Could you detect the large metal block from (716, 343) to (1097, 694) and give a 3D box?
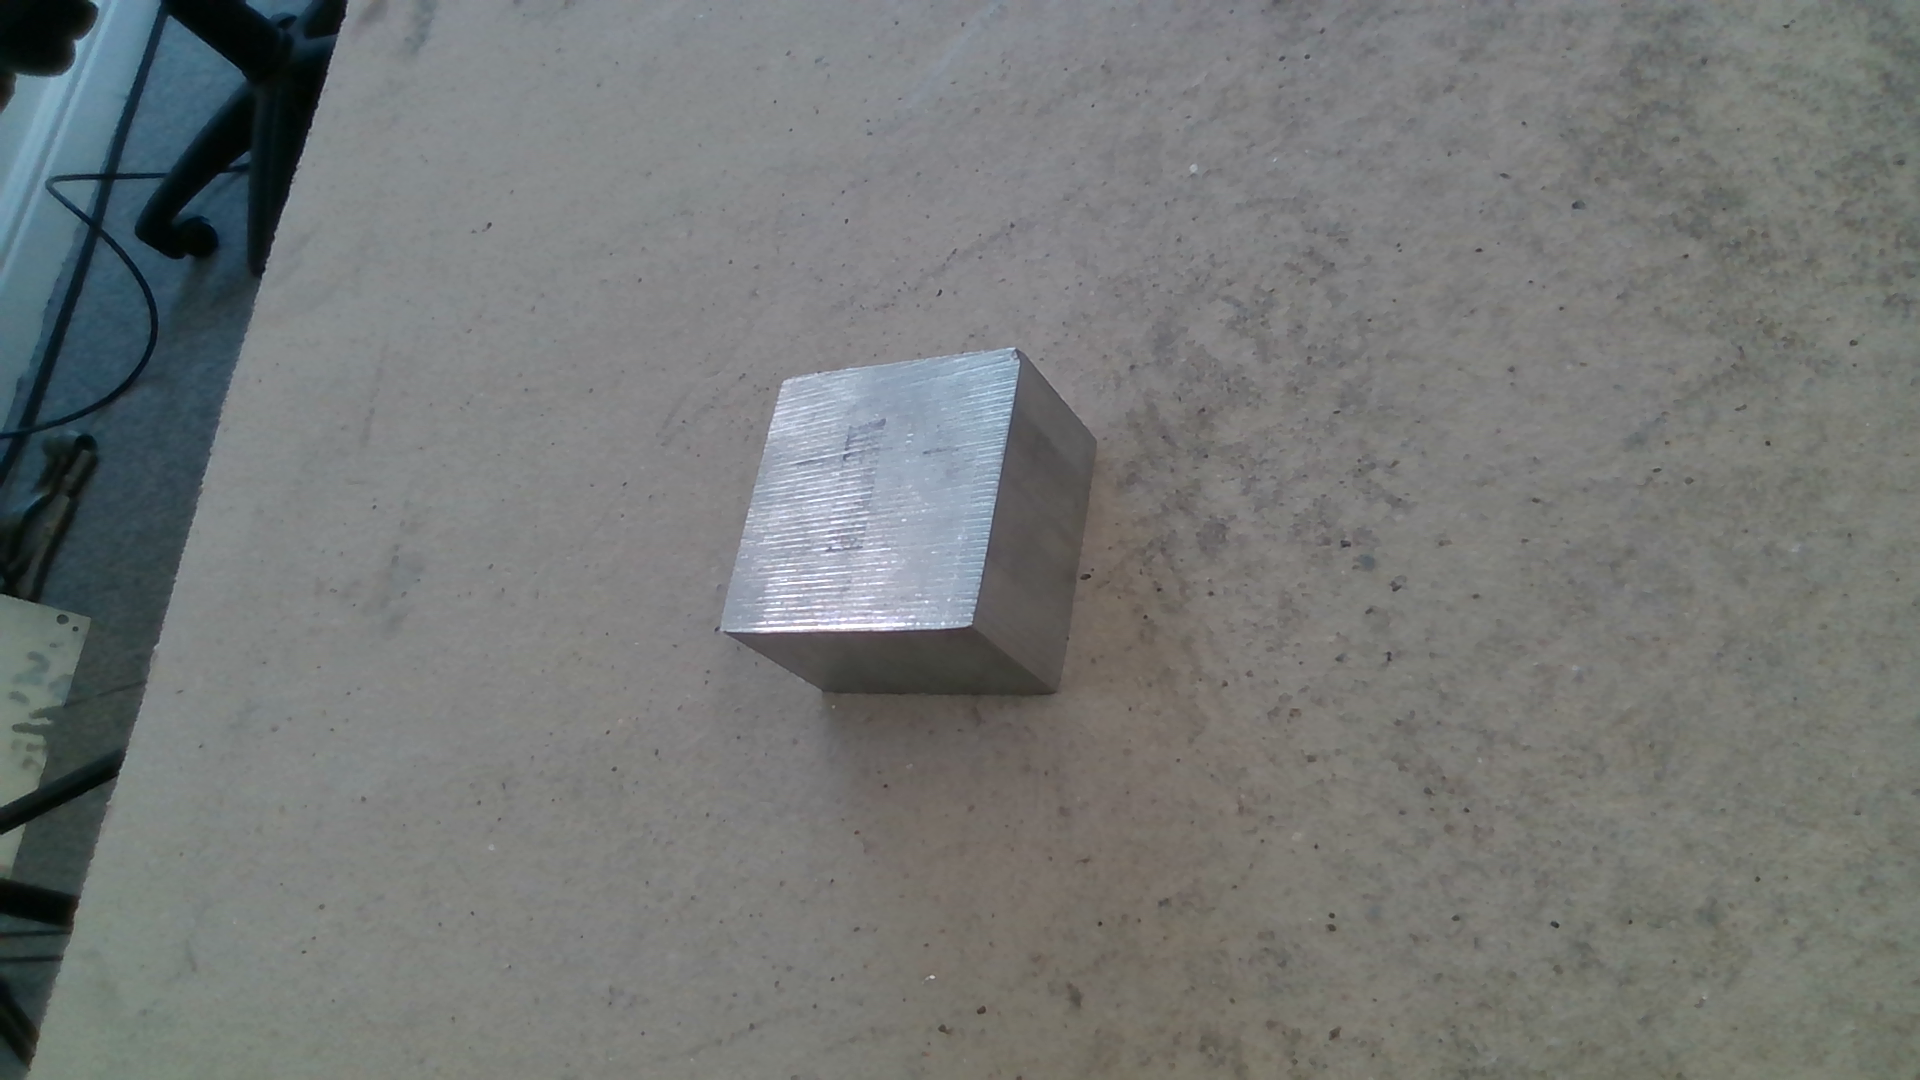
[{"bbox_3d":[-0.013,-0.003,0.386,0.080,0.050,0.080,-3,65,31],"label":"large metal block"}]
